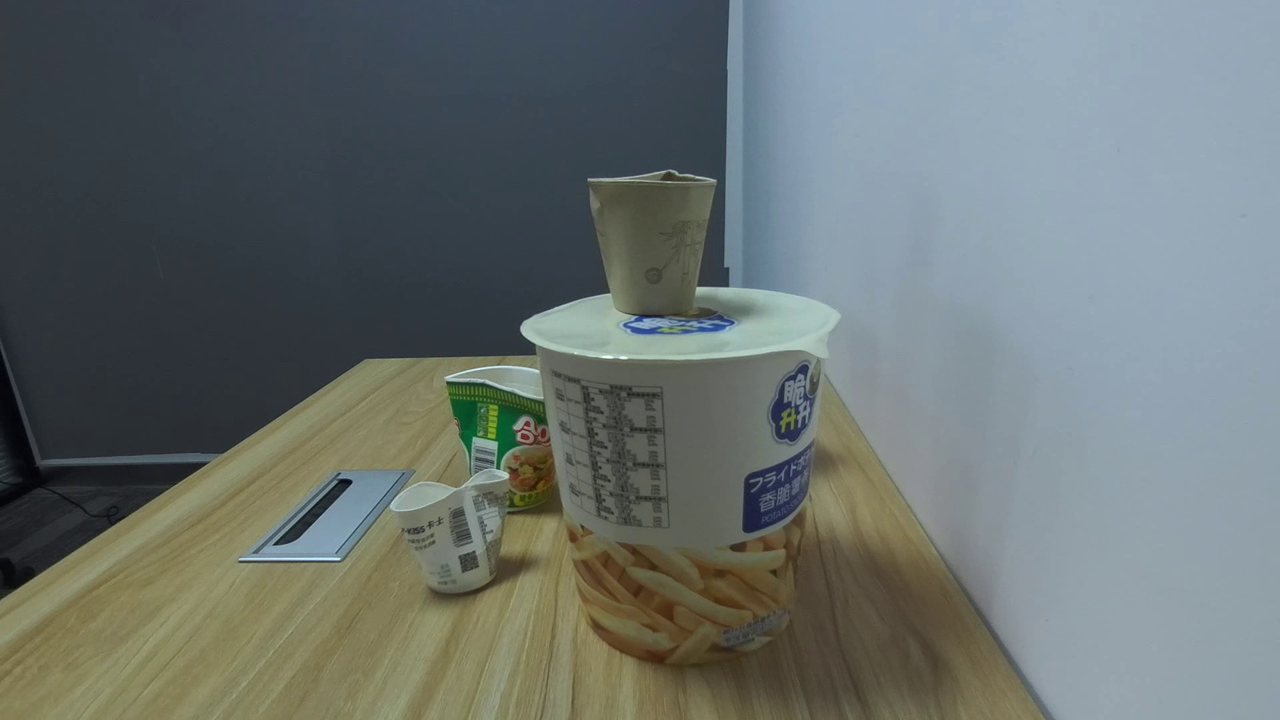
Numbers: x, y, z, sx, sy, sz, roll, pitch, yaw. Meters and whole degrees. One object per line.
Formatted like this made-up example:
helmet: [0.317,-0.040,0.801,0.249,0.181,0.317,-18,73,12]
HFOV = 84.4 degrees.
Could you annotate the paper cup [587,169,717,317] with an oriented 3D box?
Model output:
paper cup: [0.007,-0.074,0.450,0.066,0.084,0.071,-10,22,-24]

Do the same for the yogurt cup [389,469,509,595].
yogurt cup: [-0.131,0.121,0.503,0.053,0.071,0.075,9,20,26]

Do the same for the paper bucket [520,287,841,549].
paper bucket: [0.028,0.065,0.454,0.198,0.194,0.198,-2,17,1]

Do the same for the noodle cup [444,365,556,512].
noodle cup: [-0.113,0.068,0.614,0.070,0.111,0.114,-16,23,-35]
